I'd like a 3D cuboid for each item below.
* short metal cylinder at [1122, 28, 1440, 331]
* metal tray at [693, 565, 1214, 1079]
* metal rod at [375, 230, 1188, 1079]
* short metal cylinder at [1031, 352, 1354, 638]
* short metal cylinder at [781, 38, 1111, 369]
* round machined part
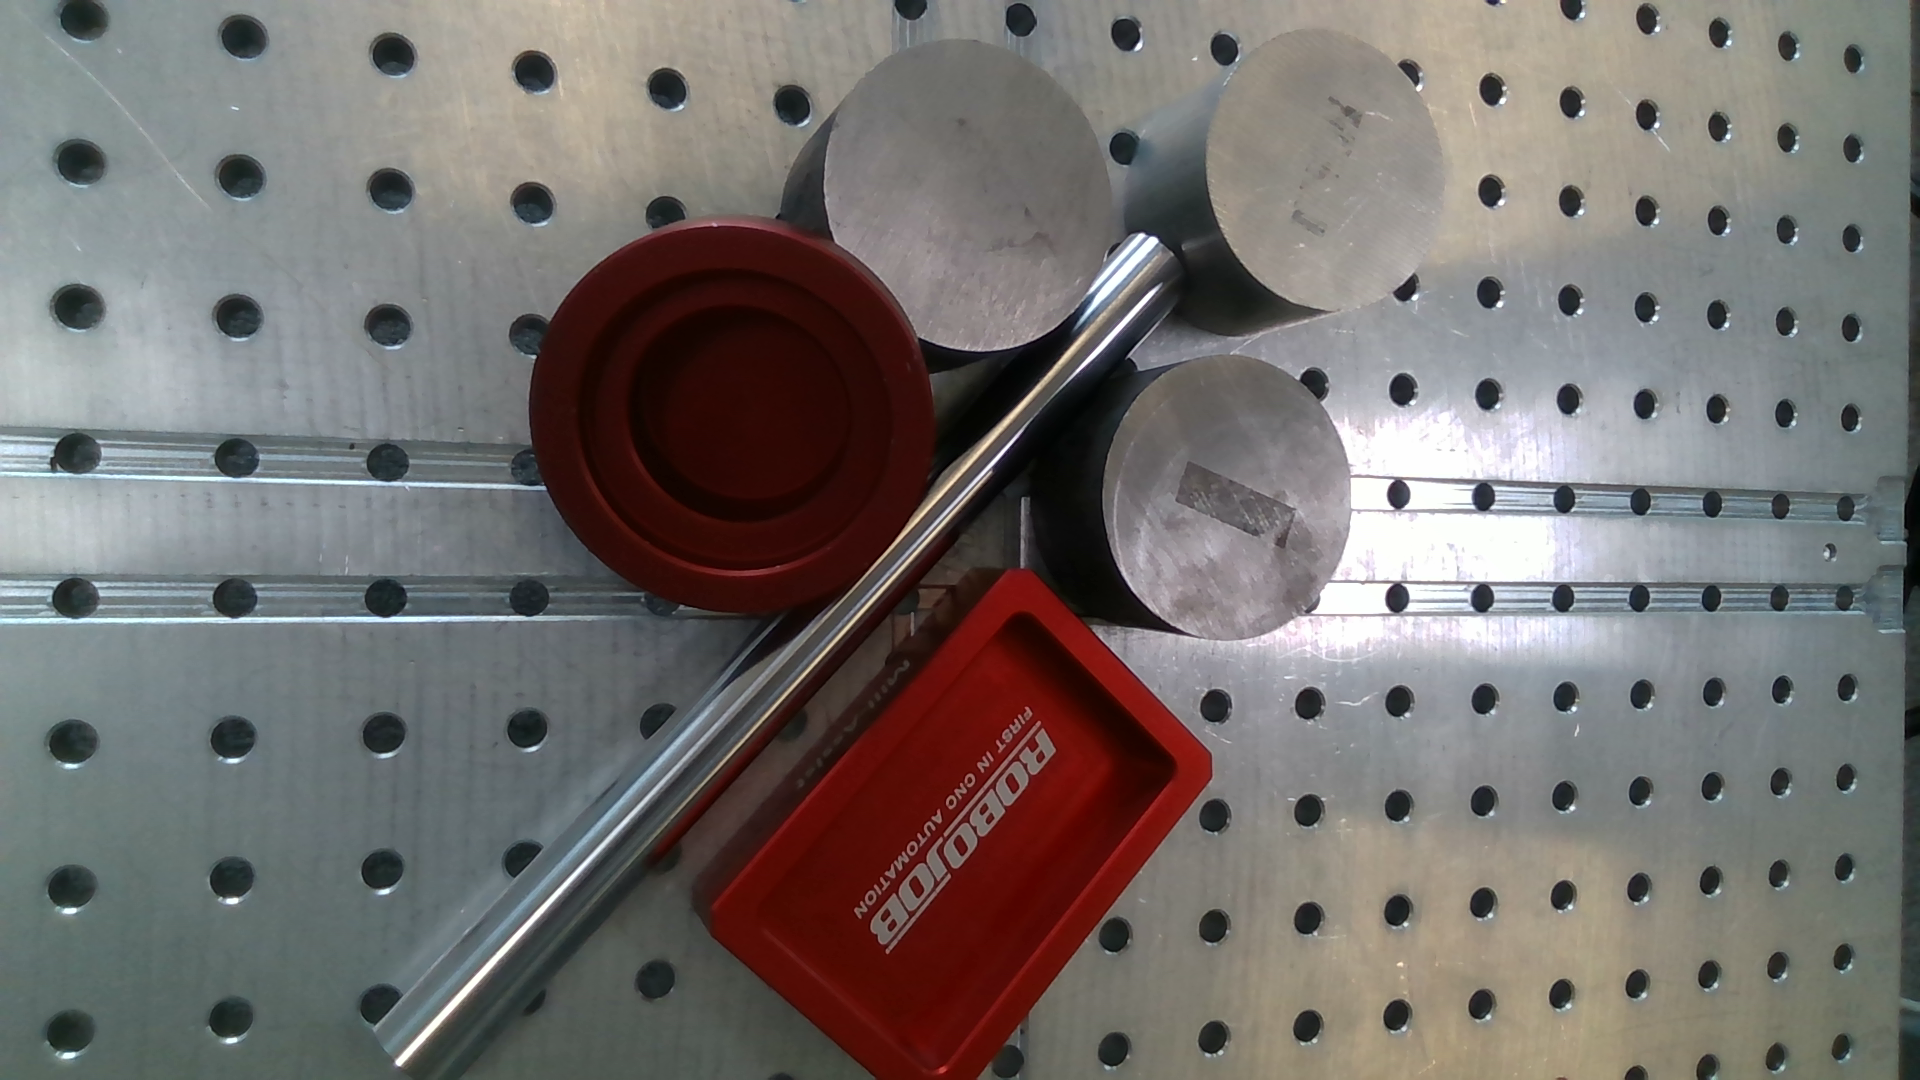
[{"bbox_3d":[0.097,-0.106,0.418,0.080,0.050,0.080,0,90,-20],"label":"short metal cylinder"},{"bbox_3d":[0.000,0.082,0.393,0.090,0.030,0.130,45,76,-14],"label":"metal tray"},{"bbox_3d":[-0.039,0.023,0.383,0.025,0.025,0.300,46,76,-14],"label":"metal rod"},{"bbox_3d":[0.068,-0.012,0.407,0.080,0.050,0.080,0,90,-20],"label":"short metal cylinder"},{"bbox_3d":[-0.005,-0.090,0.381,0.080,0.050,0.080,0,90,-20],"label":"short metal cylinder"},{"bbox_3d":[-0.056,-0.035,0.355,0.098,0.042,0.098,-1,108,-4],"label":"round machined part"}]
